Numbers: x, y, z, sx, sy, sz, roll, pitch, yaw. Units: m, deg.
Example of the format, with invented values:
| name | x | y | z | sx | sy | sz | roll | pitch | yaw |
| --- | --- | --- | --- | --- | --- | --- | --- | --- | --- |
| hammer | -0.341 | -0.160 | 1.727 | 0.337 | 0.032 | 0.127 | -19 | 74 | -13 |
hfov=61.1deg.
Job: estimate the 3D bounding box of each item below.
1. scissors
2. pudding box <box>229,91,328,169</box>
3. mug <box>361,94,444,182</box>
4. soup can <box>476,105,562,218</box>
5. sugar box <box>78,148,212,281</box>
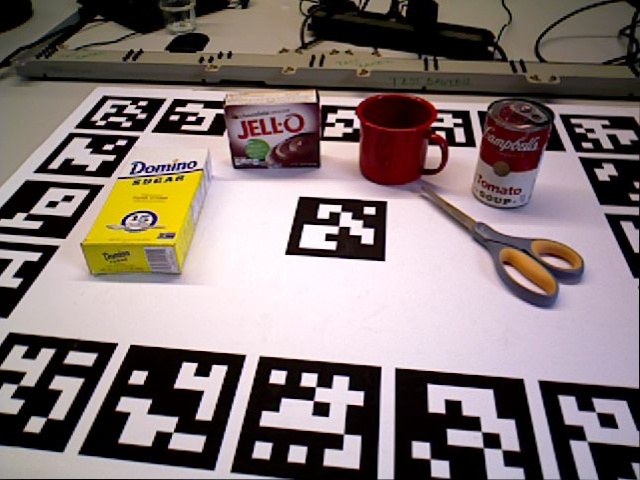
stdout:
| name | x | y | z | sx | sy | sz | roll | pitch | yaw |
| --- | --- | --- | --- | --- | --- | --- | --- | --- | --- |
| scissors | 0.178 | 0.004 | 0.545 | 0.086 | 0.016 | 0.202 | -33 | 52 | -16 |
| pudding box | -0.047 | -0.132 | 0.641 | 0.113 | 0.092 | 0.038 | -2 | 49 | -1 |
| mug | 0.101 | -0.117 | 0.630 | 0.092 | 0.083 | 0.116 | -23 | 46 | -18 |
| soup can | 0.211 | -0.084 | 0.586 | 0.067 | 0.104 | 0.067 | -2 | 42 | 0 |
| sugar box | -0.180 | -0.034 | 0.585 | 0.093 | 0.046 | 0.173 | 0 | 45 | 5 |
